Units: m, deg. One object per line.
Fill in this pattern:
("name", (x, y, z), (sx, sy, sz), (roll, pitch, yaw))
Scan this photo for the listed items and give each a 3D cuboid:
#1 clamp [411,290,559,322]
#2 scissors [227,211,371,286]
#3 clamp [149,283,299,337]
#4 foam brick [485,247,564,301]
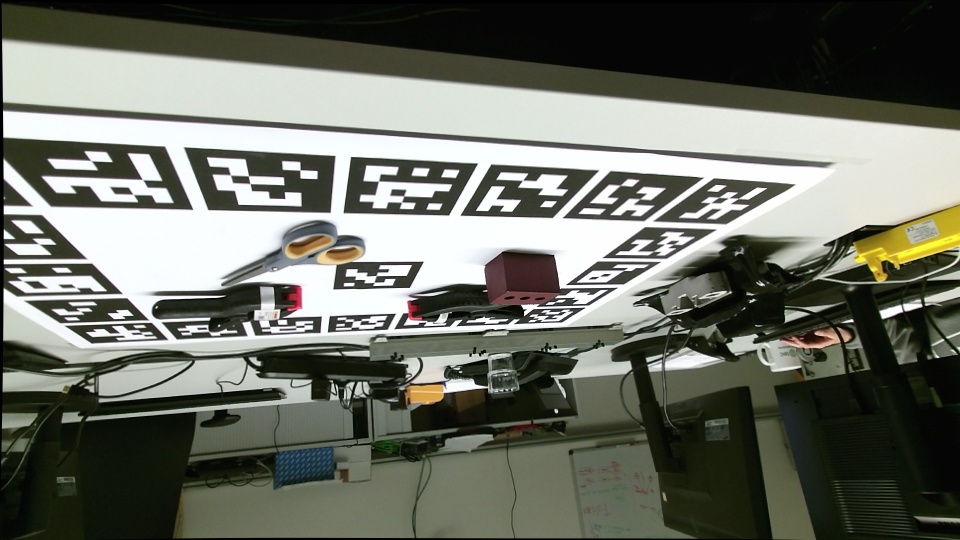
("clamp", (-0.001, 0.053, 0.795), (0.204, 0.036, 0.165), (-1, 161, -14))
("scissors", (-0.209, -0.011, 0.579), (0.203, 0.016, 0.088), (-19, 149, 29))
("clamp", (-0.310, 0.049, 0.686), (0.166, 0.036, 0.122), (-12, 151, 7))
("foam brick", (0.056, 0.005, 0.679), (0.078, 0.051, 0.053), (-2, 157, -27))
